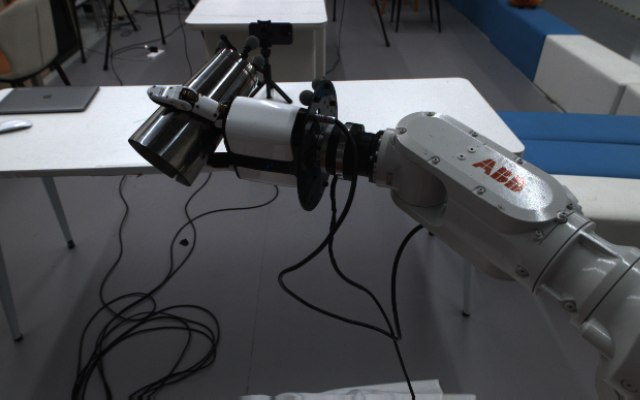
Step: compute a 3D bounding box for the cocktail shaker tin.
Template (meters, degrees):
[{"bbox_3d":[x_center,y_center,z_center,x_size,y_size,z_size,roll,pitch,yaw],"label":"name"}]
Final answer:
[{"bbox_3d":[-0.155,-0.117,0.624,0.093,0.093,0.170,24,69,28],"label":"cocktail shaker tin"}]
